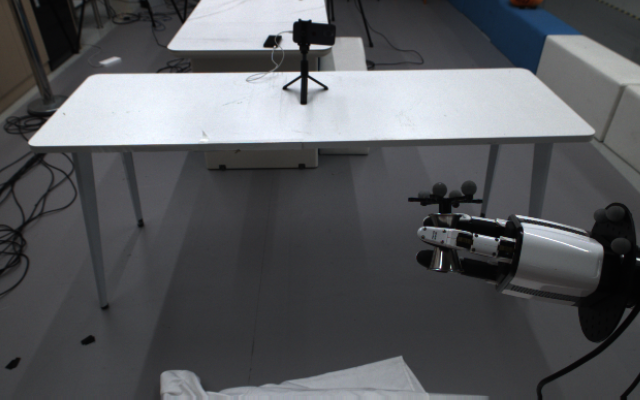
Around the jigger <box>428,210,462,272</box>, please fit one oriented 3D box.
[{"bbox_3d":[0.151,0.051,0.589,0.043,0.071,0.043,1,-6,0],"label":"jigger"}]
